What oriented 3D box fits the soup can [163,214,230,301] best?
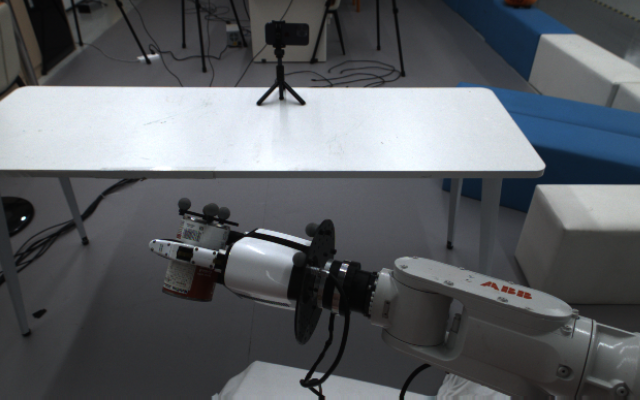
[{"bbox_3d":[-0.162,0.079,0.642,0.067,0.101,0.067,13,-6,1],"label":"soup can"}]
